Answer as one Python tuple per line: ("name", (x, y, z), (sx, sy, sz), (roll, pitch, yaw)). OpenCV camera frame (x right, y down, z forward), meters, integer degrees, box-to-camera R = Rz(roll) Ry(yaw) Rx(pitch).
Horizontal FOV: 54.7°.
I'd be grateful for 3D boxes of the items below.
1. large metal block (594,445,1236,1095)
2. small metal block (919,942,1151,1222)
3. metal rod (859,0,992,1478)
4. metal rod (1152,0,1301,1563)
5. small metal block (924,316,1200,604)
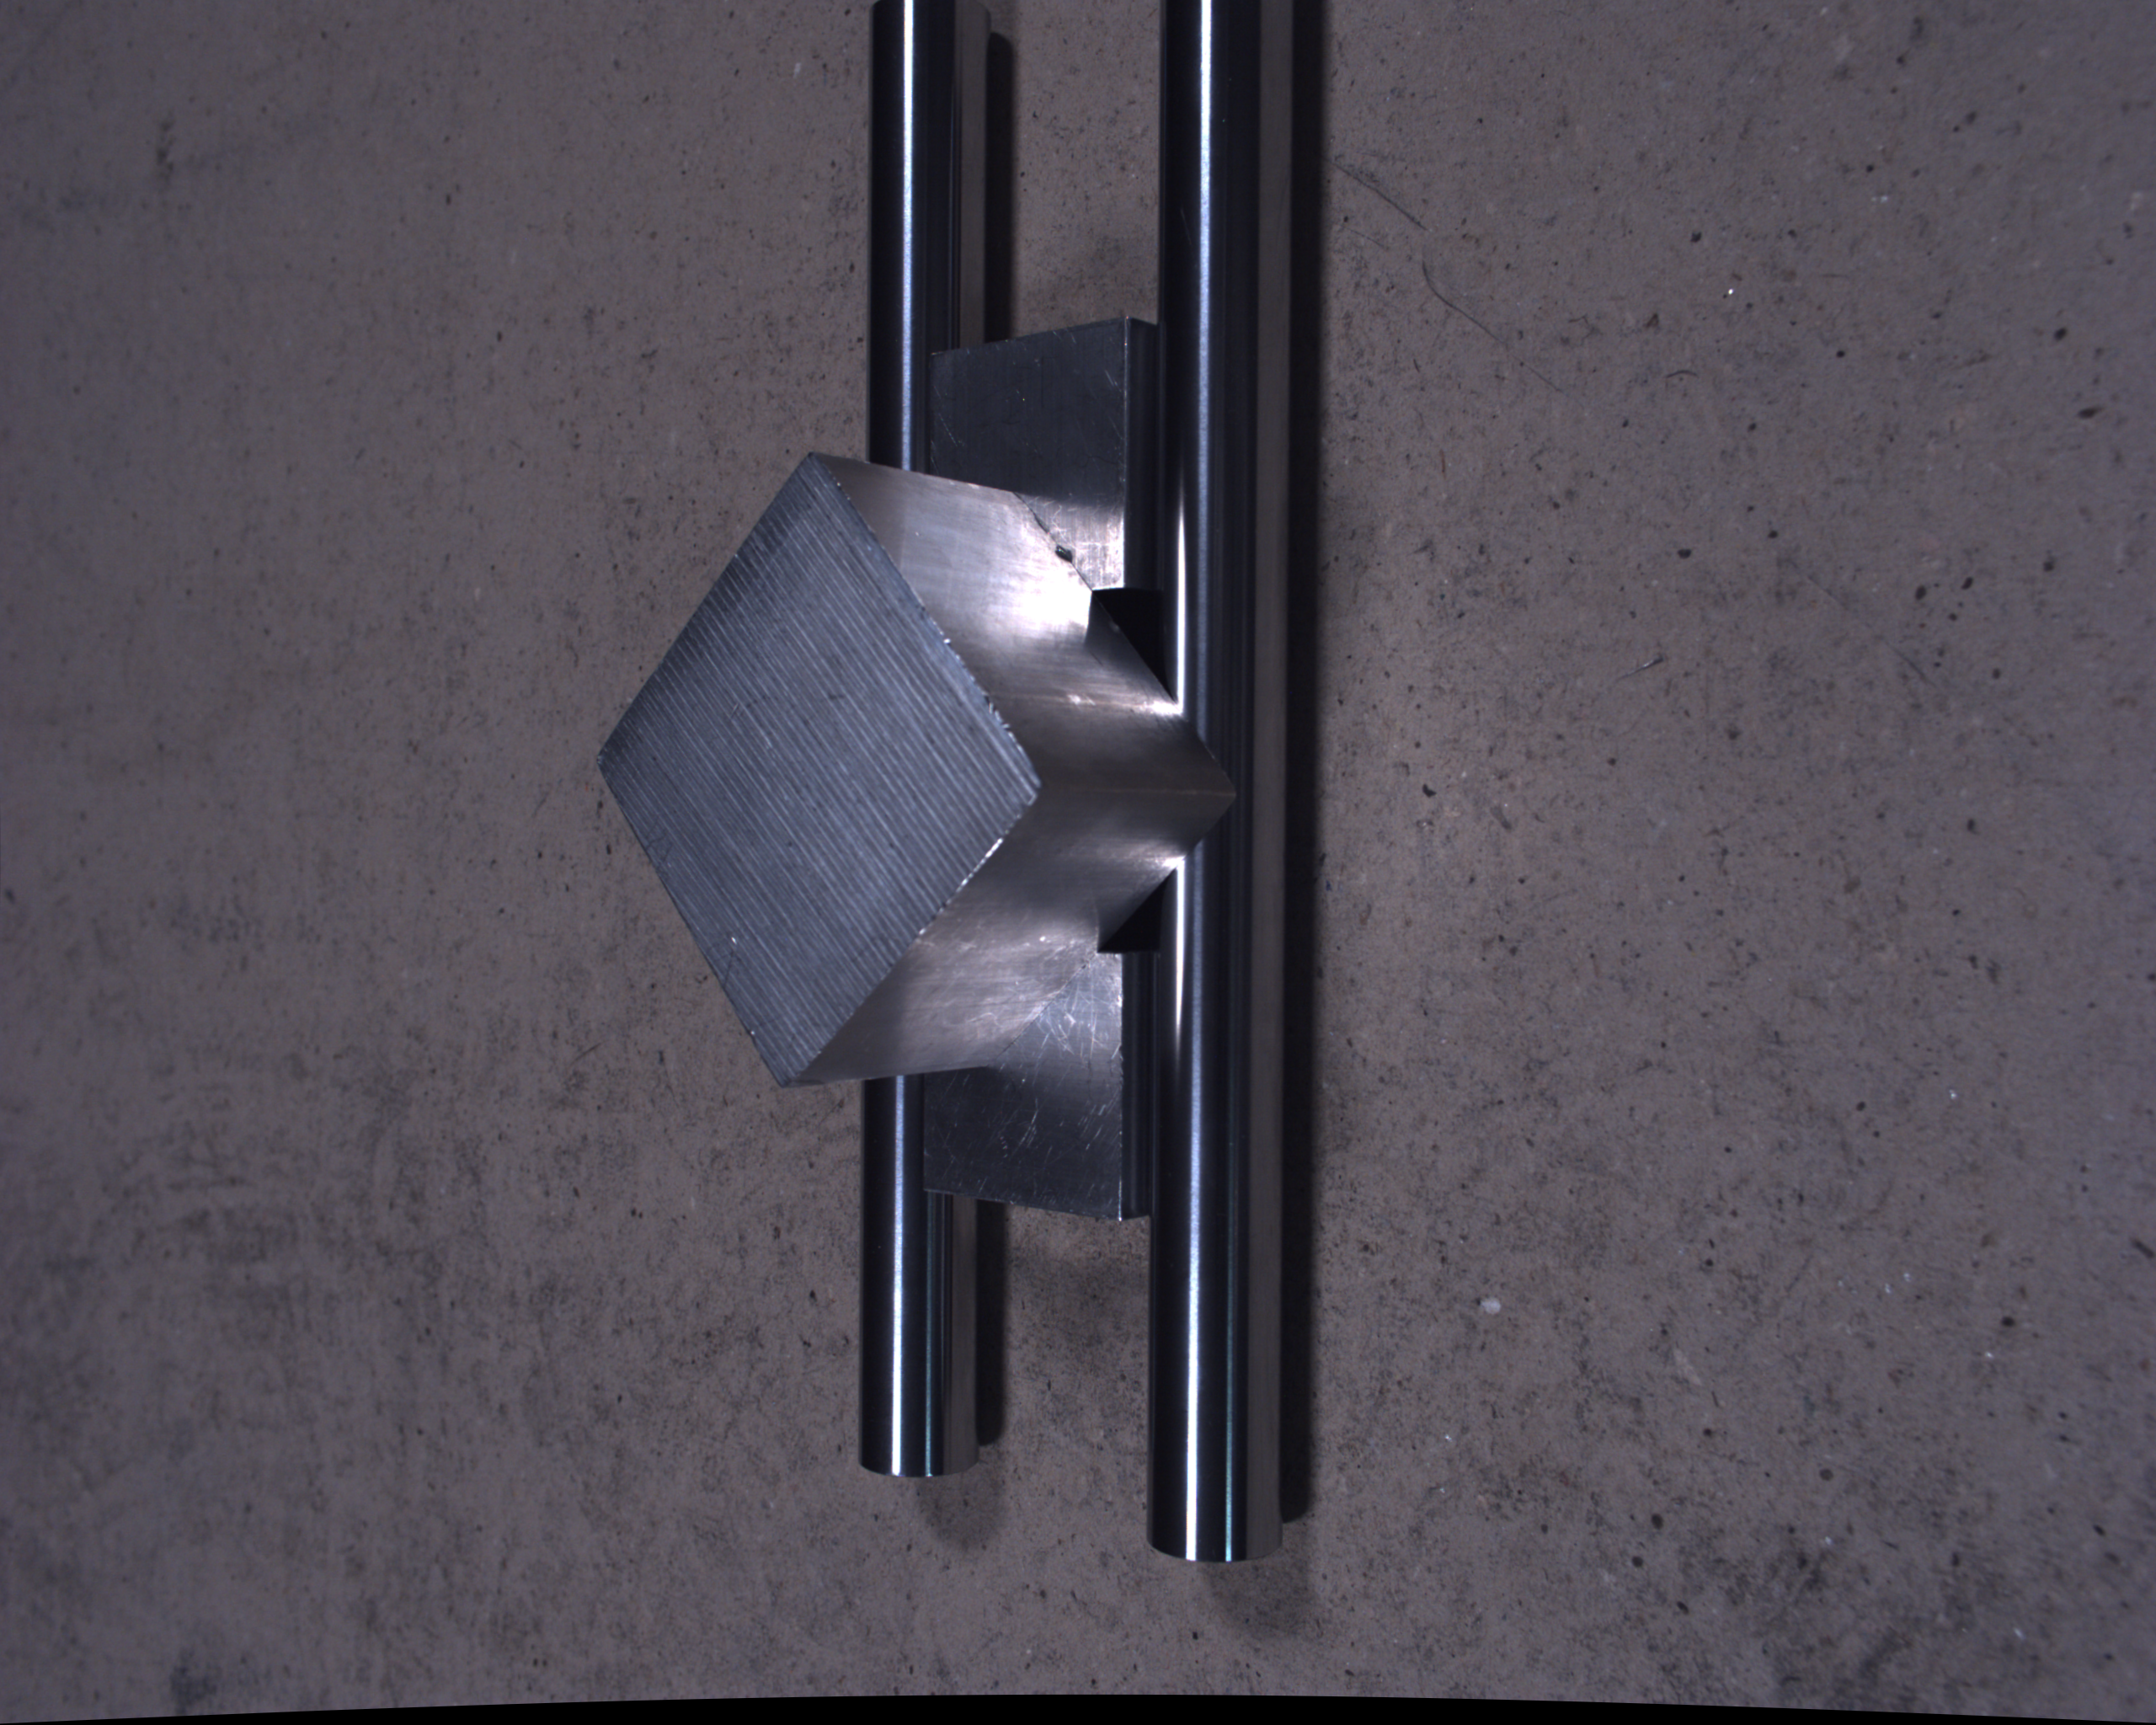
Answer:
("large metal block", (-0.032, -0.016, 0.380), (0.080, 0.050, 0.080), (-48, 62, 29))
("small metal block", (-0.004, 0.040, 0.406), (0.050, 0.025, 0.050), (1, 91, 39))
("metal rod", (-0.031, -0.025, 0.431), (0.025, 0.025, 0.298), (1, 91, 39))
("metal rod", (0.027, -0.024, 0.383), (0.025, 0.025, 0.298), (1, 91, 39))
("small metal block", (-0.003, -0.075, 0.405), (0.050, 0.025, 0.050), (1, 91, 39))
